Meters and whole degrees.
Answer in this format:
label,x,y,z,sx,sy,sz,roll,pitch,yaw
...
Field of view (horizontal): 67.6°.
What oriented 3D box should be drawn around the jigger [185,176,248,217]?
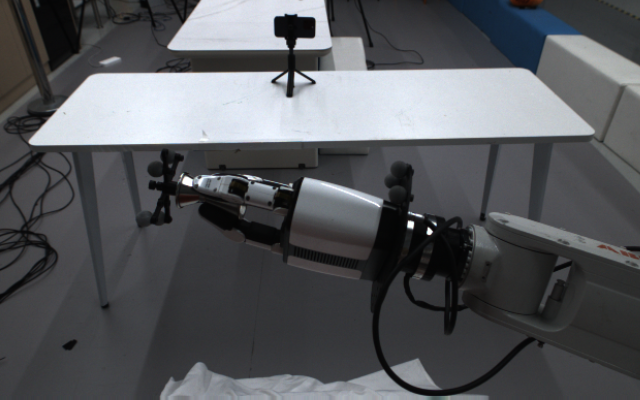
label,x,y,z,sx,sy,sz,roll,pitch,yaw
jigger,-0.109,-0.009,0.516,0.071,0.043,0.043,9,35,1
